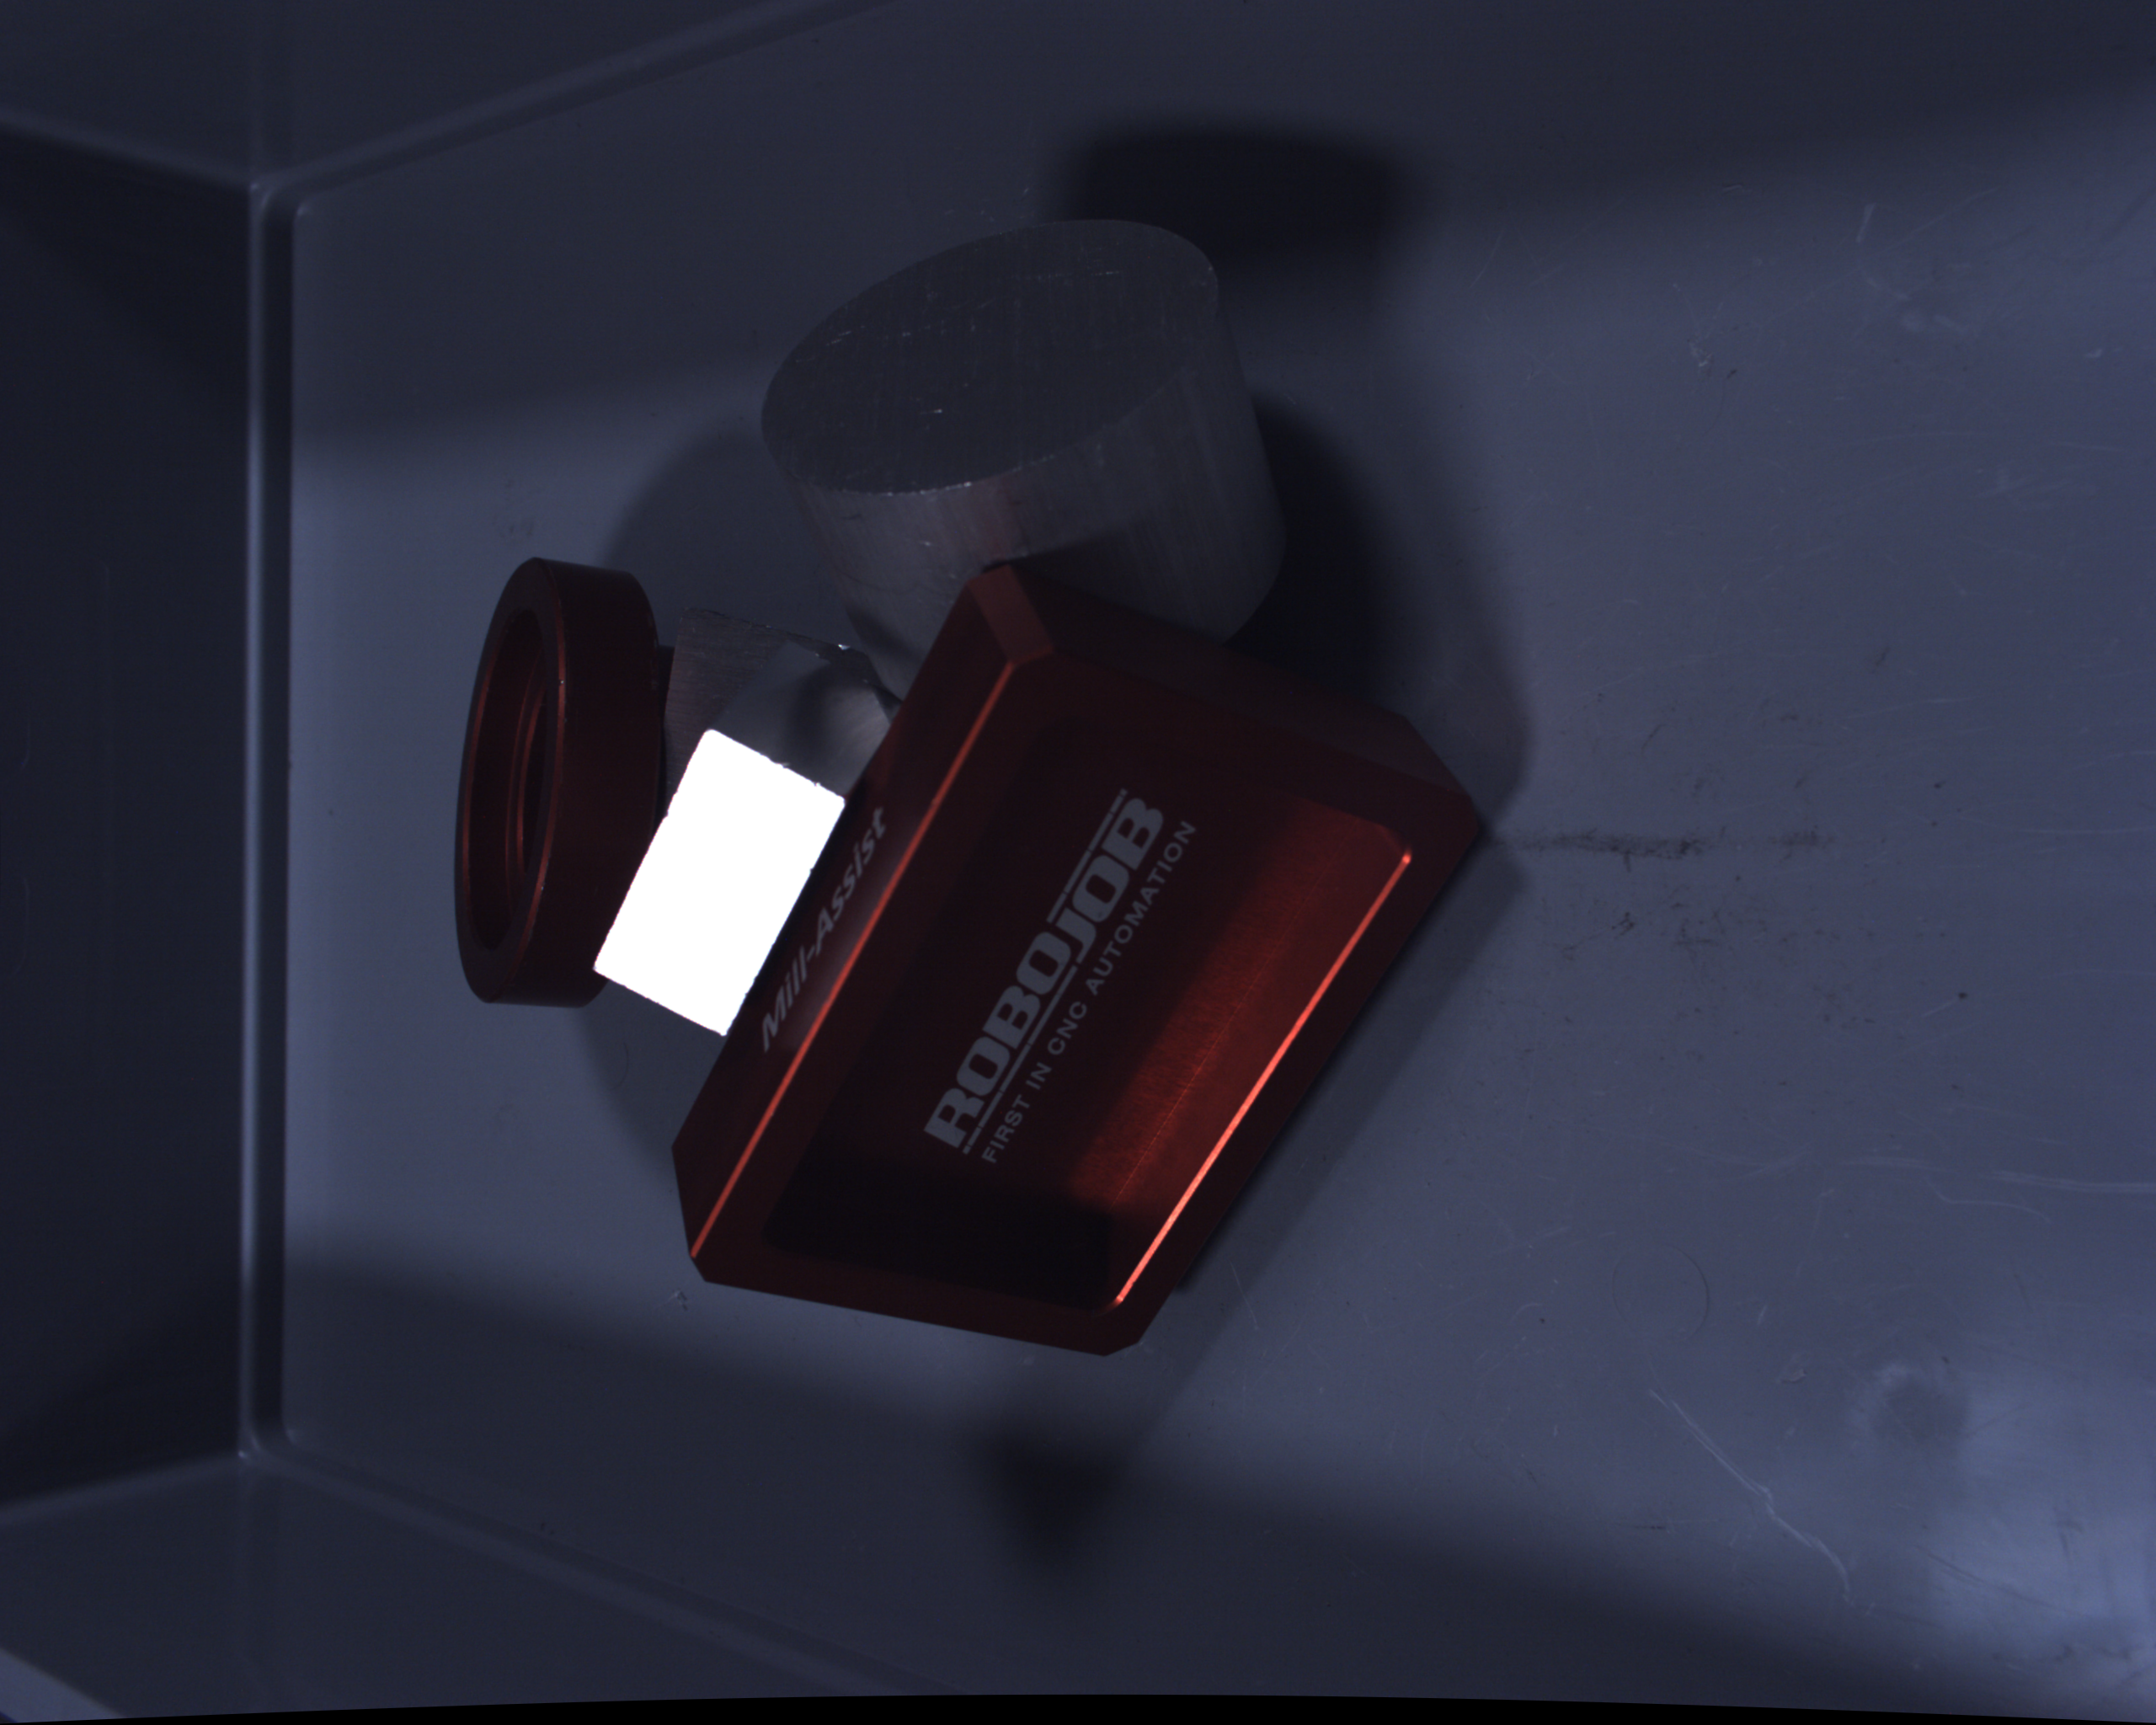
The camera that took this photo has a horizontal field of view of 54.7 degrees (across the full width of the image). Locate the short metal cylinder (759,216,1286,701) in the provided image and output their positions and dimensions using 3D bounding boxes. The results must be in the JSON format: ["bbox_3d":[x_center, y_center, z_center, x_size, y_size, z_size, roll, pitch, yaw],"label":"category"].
[{"bbox_3d":[-0.008,-0.070,0.366,0.080,0.080,0.050,21,147,38],"label":"short metal cylinder"}]

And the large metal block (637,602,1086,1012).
[{"bbox_3d":[-0.041,-0.004,0.420,0.080,0.050,0.079,19,102,38],"label":"large metal block"}]

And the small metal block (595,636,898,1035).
[{"bbox_3d":[-0.055,-0.006,0.365,0.025,0.050,0.050,28,113,-4],"label":"small metal block"}]

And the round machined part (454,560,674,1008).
[{"bbox_3d":[-0.107,-0.016,0.464,0.098,0.042,0.098,-19,68,60],"label":"round machined part"}]

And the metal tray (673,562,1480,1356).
[{"bbox_3d":[-0.003,0.023,0.361,0.129,0.091,0.030,-60,29,22],"label":"metal tray"}]
